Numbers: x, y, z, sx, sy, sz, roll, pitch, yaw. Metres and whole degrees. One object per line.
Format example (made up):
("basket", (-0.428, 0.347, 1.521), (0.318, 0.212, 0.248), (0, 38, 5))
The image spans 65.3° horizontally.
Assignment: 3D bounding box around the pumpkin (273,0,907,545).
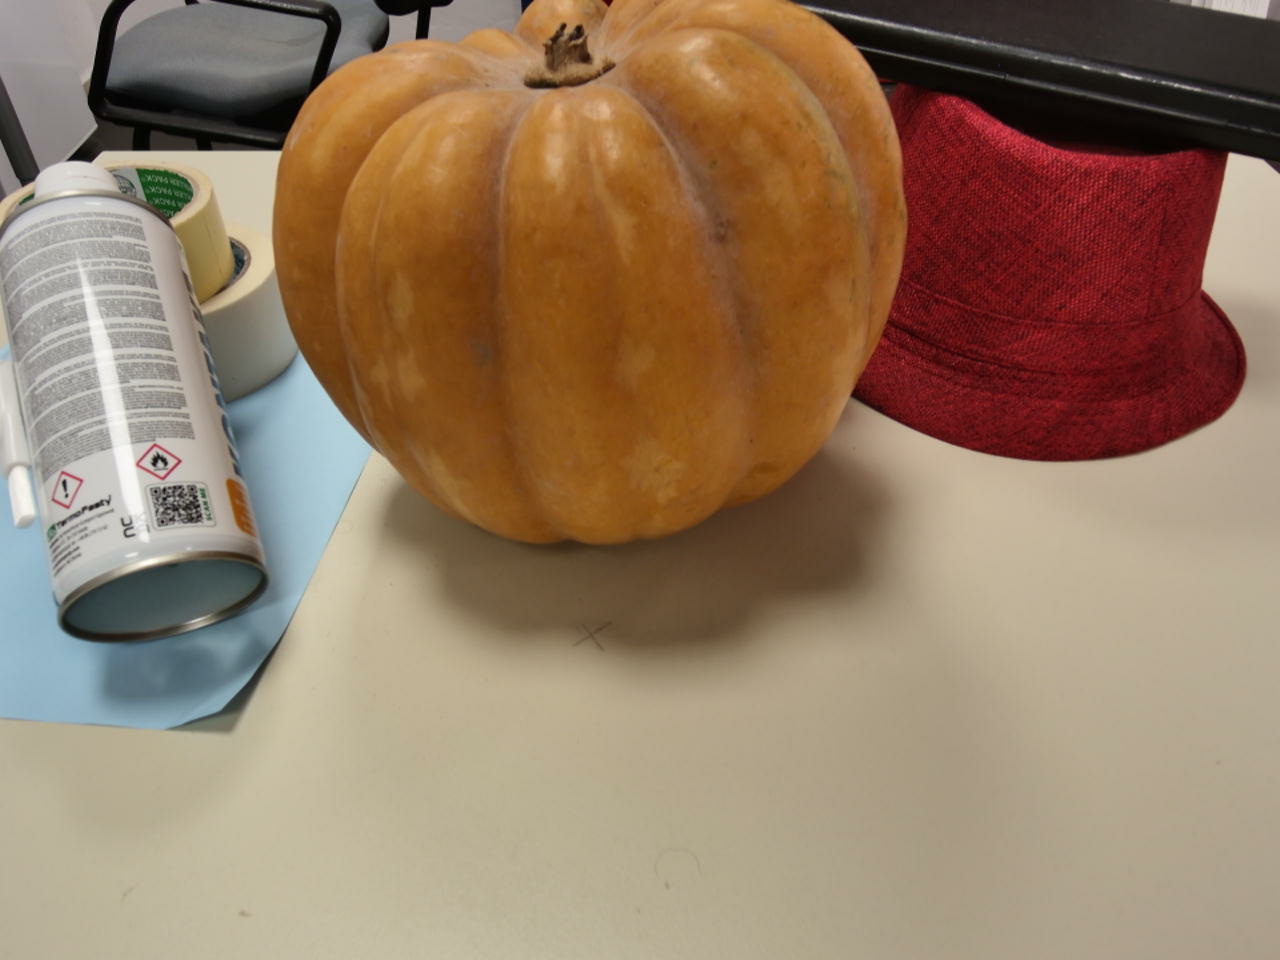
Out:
("pumpkin", (-0.014, -0.081, 0.383), (0.230, 0.194, 0.230), (0, 39, 0))
